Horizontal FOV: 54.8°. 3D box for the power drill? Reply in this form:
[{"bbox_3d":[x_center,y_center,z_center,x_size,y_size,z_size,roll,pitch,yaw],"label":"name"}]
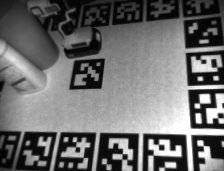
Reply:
[{"bbox_3d":[-0.119,-0.191,0.592,0.184,0.188,0.057,-6,69,8],"label":"power drill"}]

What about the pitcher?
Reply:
[{"bbox_3d":[-0.284,-0.171,0.618,0.188,0.245,0.132,-28,64,4],"label":"pitcher"}]

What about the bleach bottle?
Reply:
[{"bbox_3d":[-0.307,-0.084,0.565,0.102,0.253,0.067,-10,66,13],"label":"bleach bottle"}]
